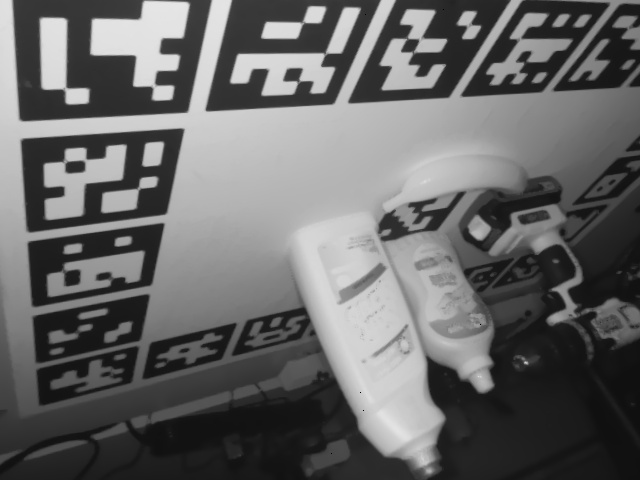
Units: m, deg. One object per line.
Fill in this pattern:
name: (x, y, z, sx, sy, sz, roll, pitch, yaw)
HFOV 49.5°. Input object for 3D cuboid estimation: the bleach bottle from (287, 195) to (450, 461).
bleach bottle: (0.055, 0.076, 0.636, 0.104, 0.251, 0.067, -14, 146, -17)

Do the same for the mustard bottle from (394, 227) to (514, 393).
mustard bottle: (0.152, 0.075, 0.745, 0.097, 0.191, 0.057, -8, 145, -24)

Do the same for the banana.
banana: (0.154, -0.069, 0.676, 0.200, 0.039, 0.073, -9, 141, -28)

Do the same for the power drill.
power drill: (0.265, 0.037, 0.734, 0.187, 0.187, 0.056, -9, 152, -21)
